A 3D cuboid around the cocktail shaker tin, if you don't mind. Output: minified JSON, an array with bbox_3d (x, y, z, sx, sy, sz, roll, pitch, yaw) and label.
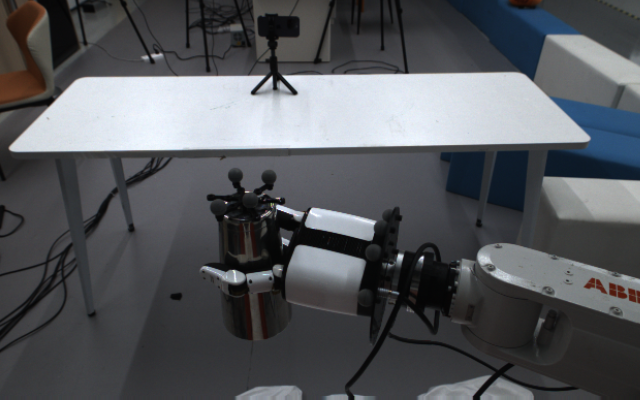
[{"bbox_3d":[-0.081,0.078,0.593,0.093,0.170,0.093,0,33,0],"label":"cocktail shaker tin"}]
